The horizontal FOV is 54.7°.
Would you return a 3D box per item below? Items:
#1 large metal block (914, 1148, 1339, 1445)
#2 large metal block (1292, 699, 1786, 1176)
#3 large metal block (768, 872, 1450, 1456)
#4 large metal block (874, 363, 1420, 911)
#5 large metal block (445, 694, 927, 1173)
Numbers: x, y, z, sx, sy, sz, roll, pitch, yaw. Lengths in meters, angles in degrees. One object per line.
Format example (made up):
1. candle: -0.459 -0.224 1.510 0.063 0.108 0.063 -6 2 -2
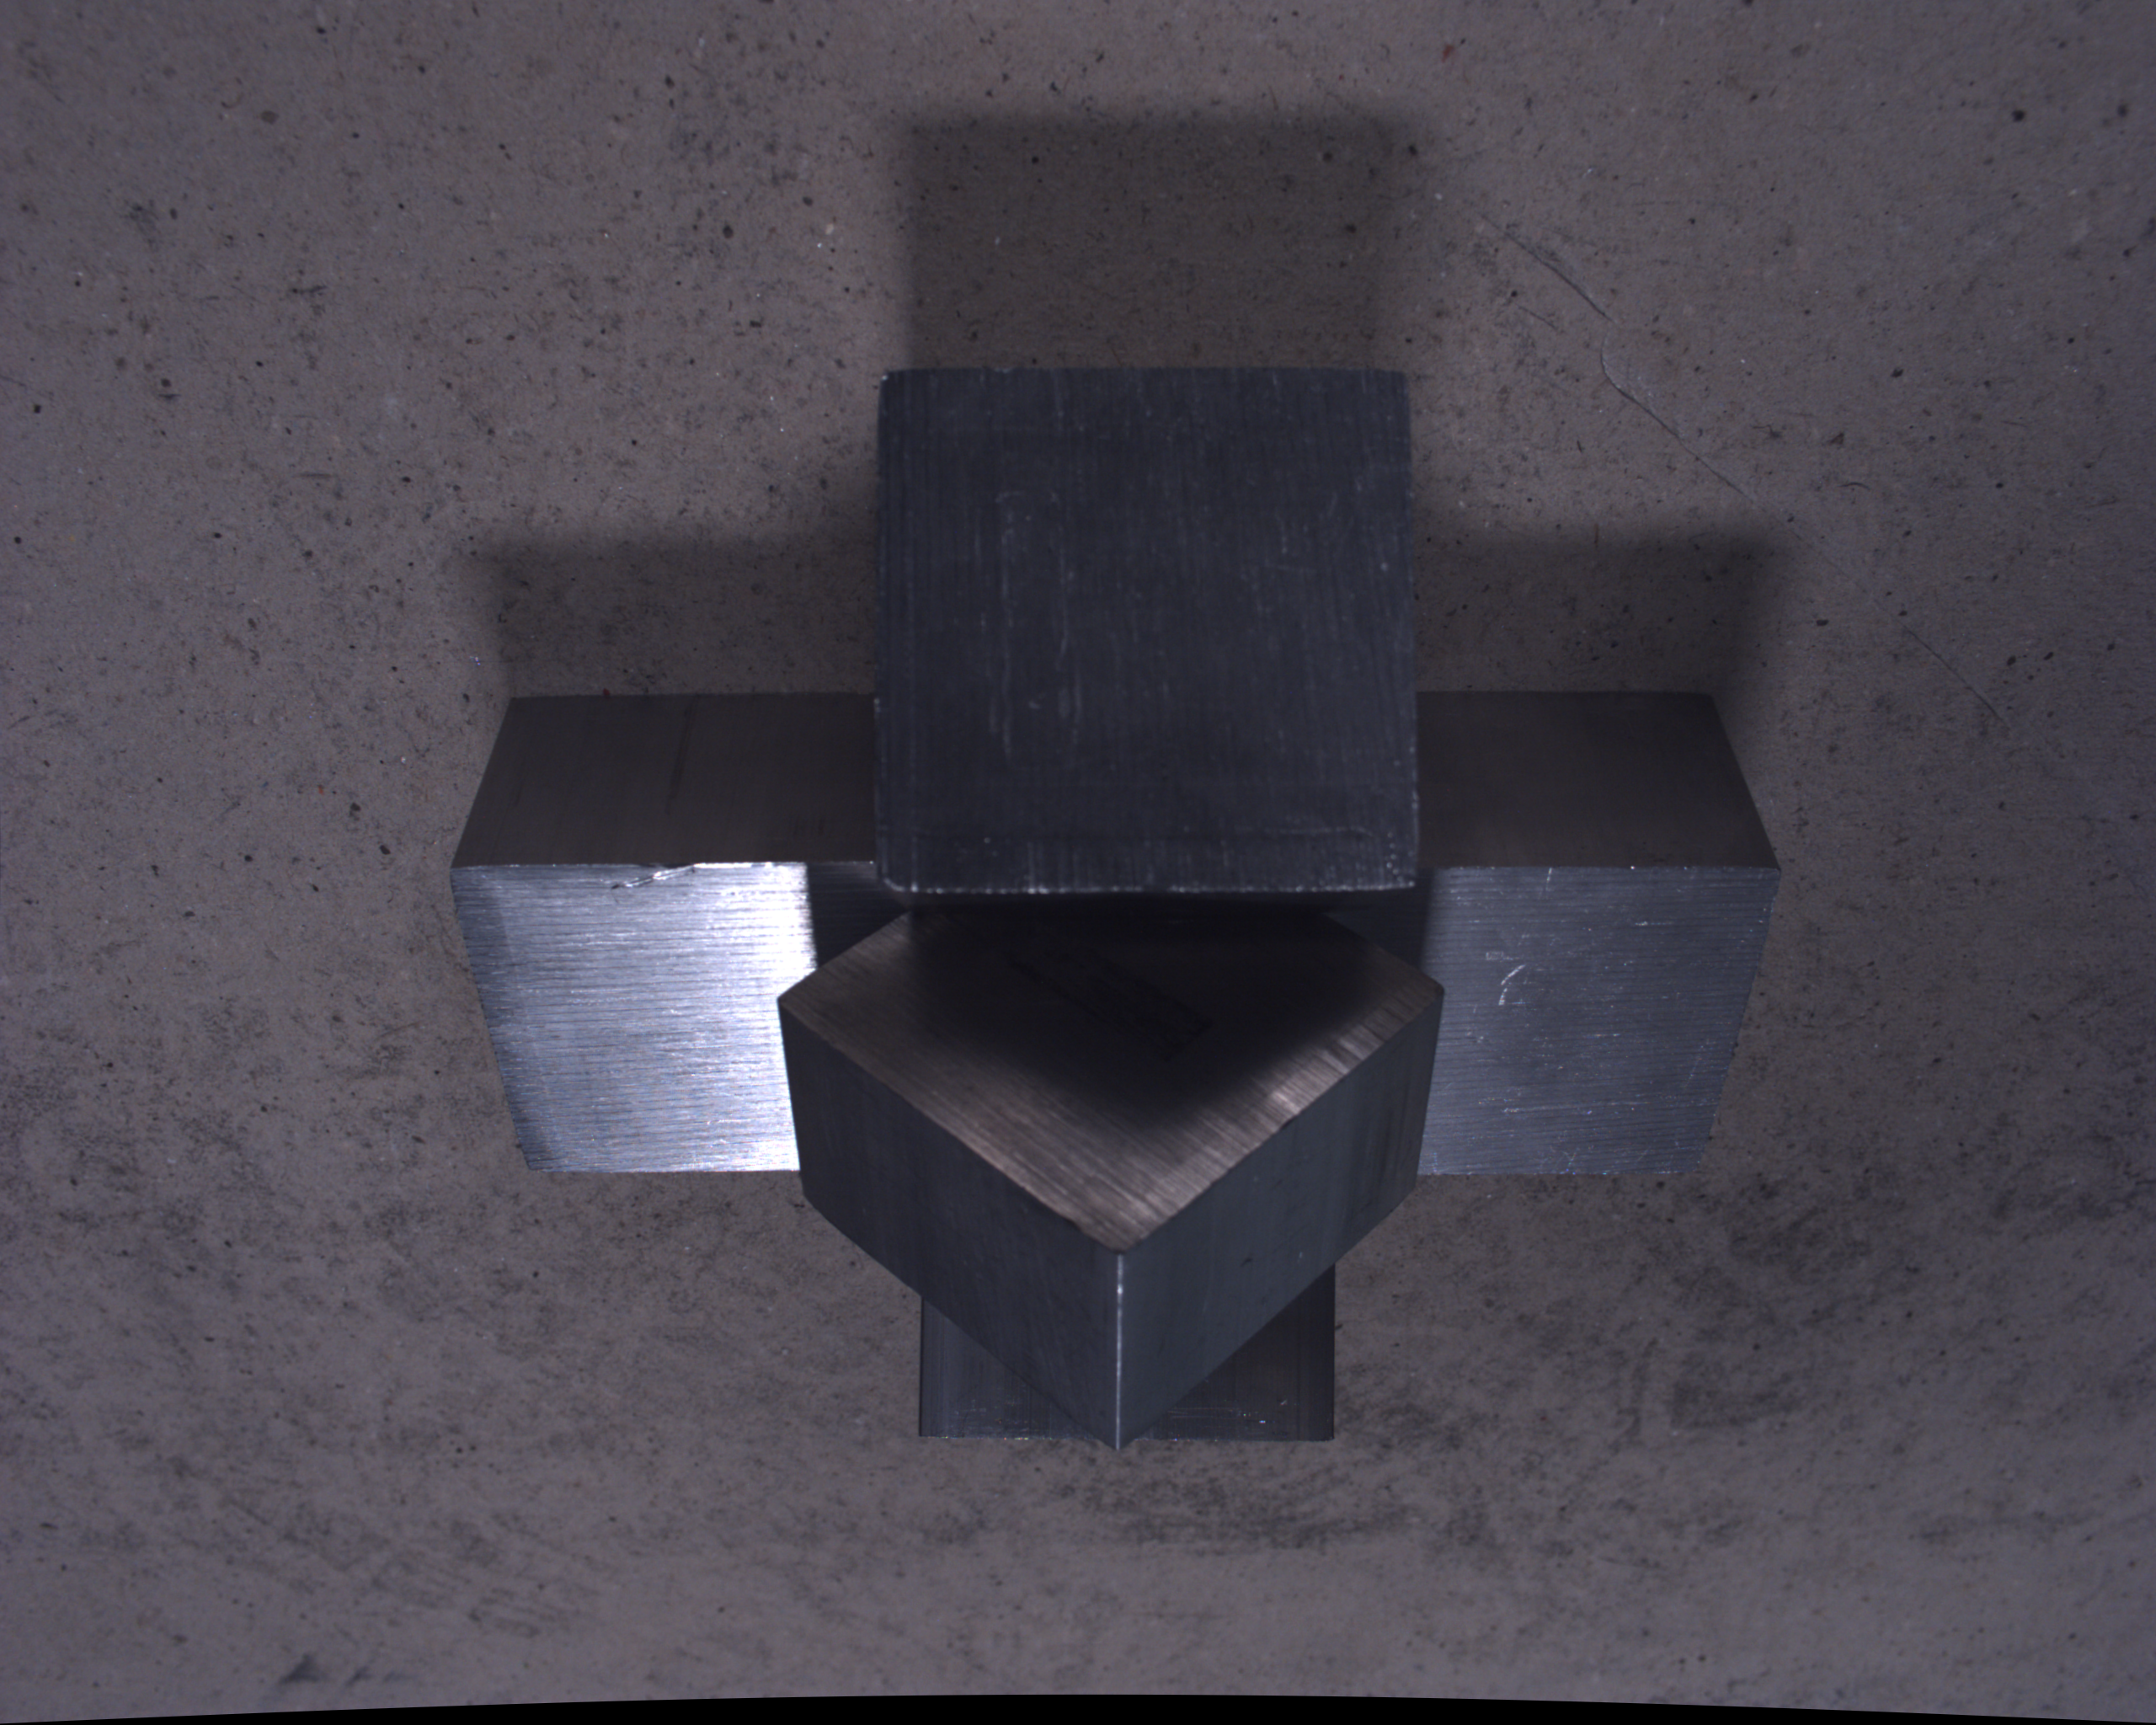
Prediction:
1. large metal block: 0.009 0.087 0.439 0.081 0.080 0.050 2 87 -1
2. large metal block: 0.081 0.015 0.403 0.081 0.050 0.079 0 130 -1
3. large metal block: 0.005 0.041 0.364 0.080 0.081 0.050 32 140 32
4. large metal block: 0.010 -0.034 0.337 0.081 0.080 0.050 0 174 0
5. large metal block: -0.068 0.014 0.403 0.081 0.050 0.079 0 130 0
